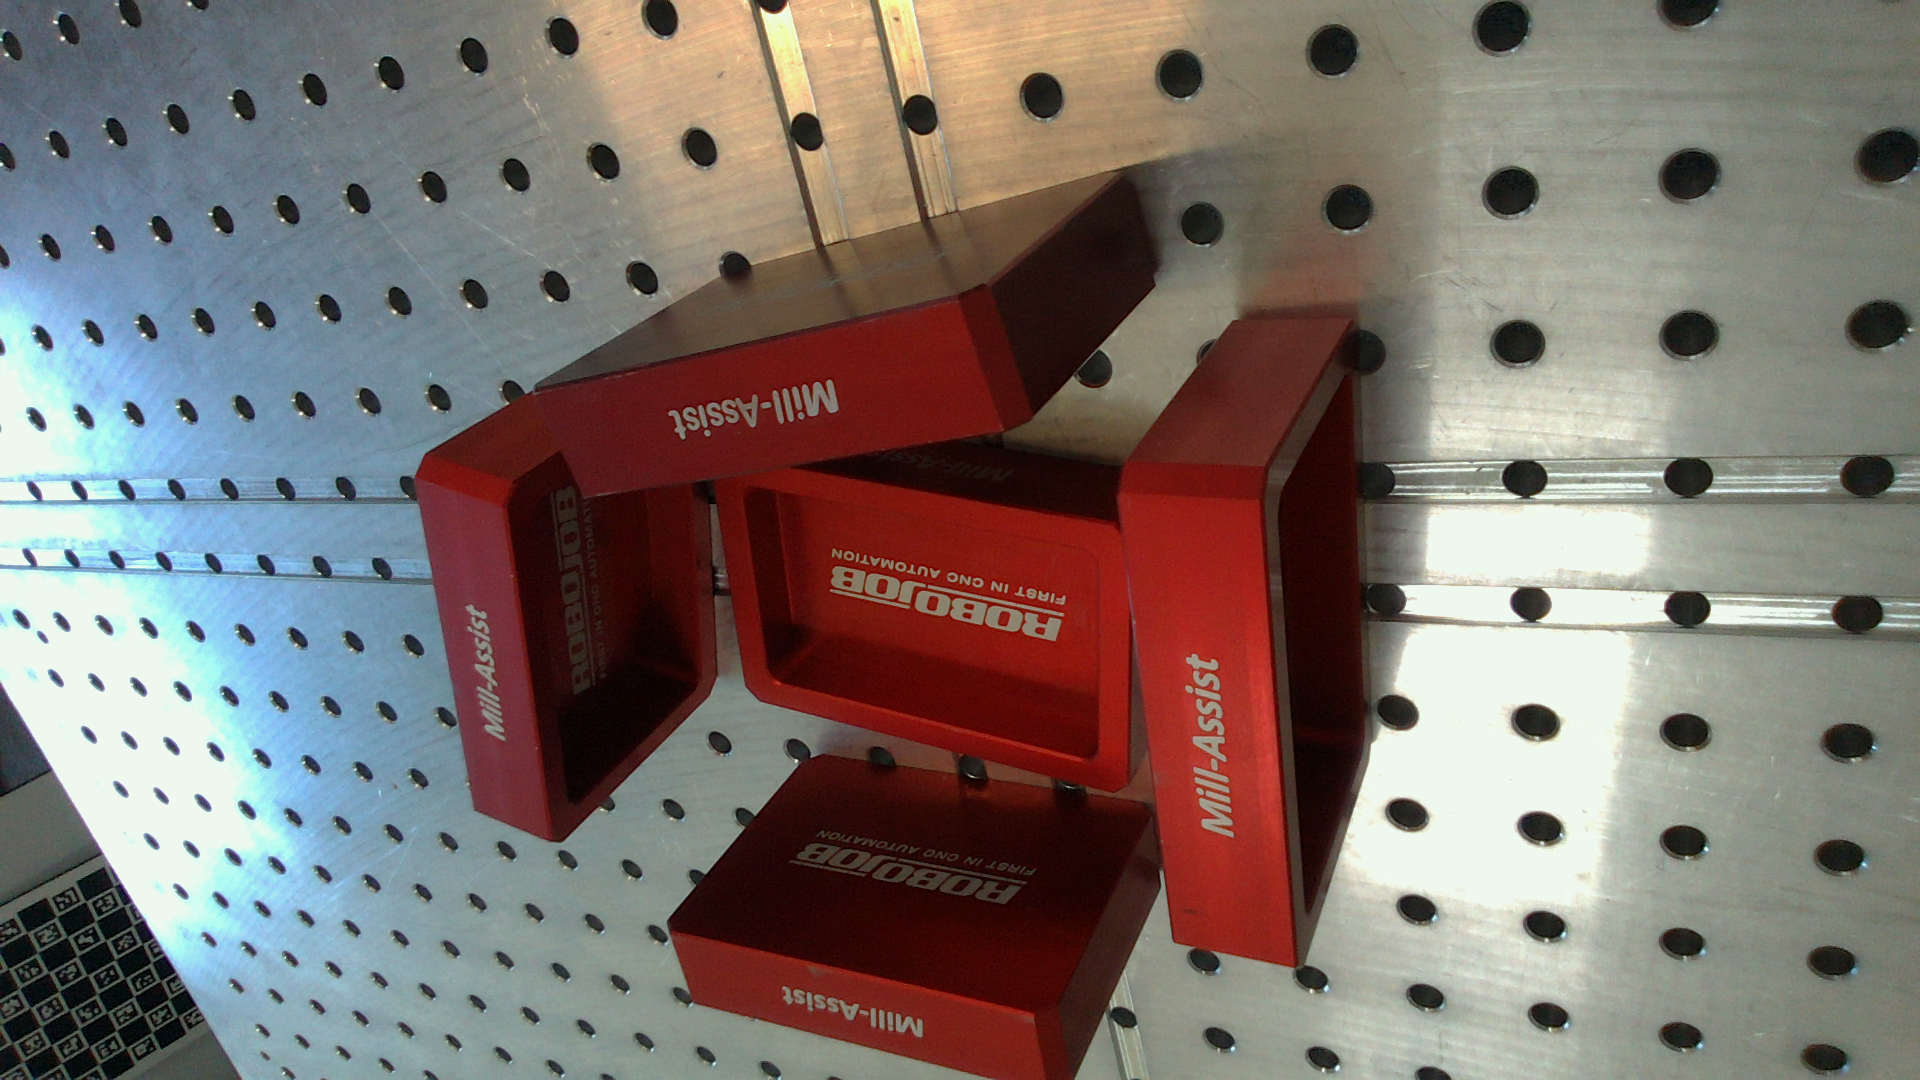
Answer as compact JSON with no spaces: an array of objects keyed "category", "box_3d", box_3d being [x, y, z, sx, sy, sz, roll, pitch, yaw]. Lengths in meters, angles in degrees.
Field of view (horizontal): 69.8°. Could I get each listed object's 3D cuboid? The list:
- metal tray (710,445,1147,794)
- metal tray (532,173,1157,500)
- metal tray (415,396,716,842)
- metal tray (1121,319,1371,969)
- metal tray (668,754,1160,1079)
[{"category":"metal tray","box_3d":[-0.007,0.017,0.406,0.130,0.030,0.090,11,123,22]},{"category":"metal tray","box_3d":[-0.028,-0.050,0.337,0.129,0.090,0.030,-6,115,31]},{"category":"metal tray","box_3d":[-0.115,0.016,0.426,0.030,0.090,0.130,17,125,19]},{"category":"metal tray","box_3d":[0.073,0.023,0.329,0.030,0.090,0.130,4,120,26]},{"category":"metal tray","box_3d":[-0.012,0.113,0.431,0.130,0.090,0.030,4,120,27]}]
